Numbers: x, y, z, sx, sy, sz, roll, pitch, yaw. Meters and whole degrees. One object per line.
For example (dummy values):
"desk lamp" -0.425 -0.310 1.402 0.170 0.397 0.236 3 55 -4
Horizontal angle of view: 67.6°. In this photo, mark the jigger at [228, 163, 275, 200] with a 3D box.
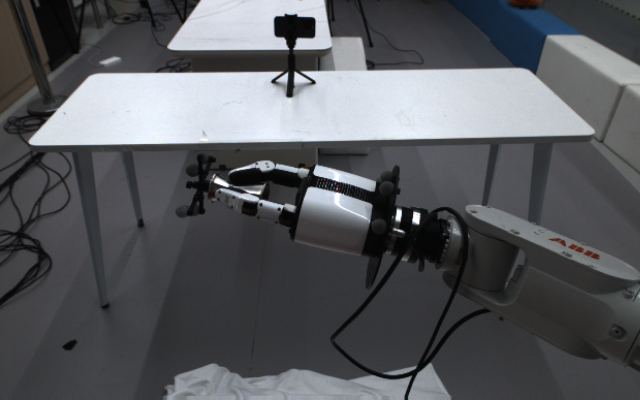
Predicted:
"jigger" -0.096 -0.011 0.614 0.071 0.043 0.043 11 36 5
